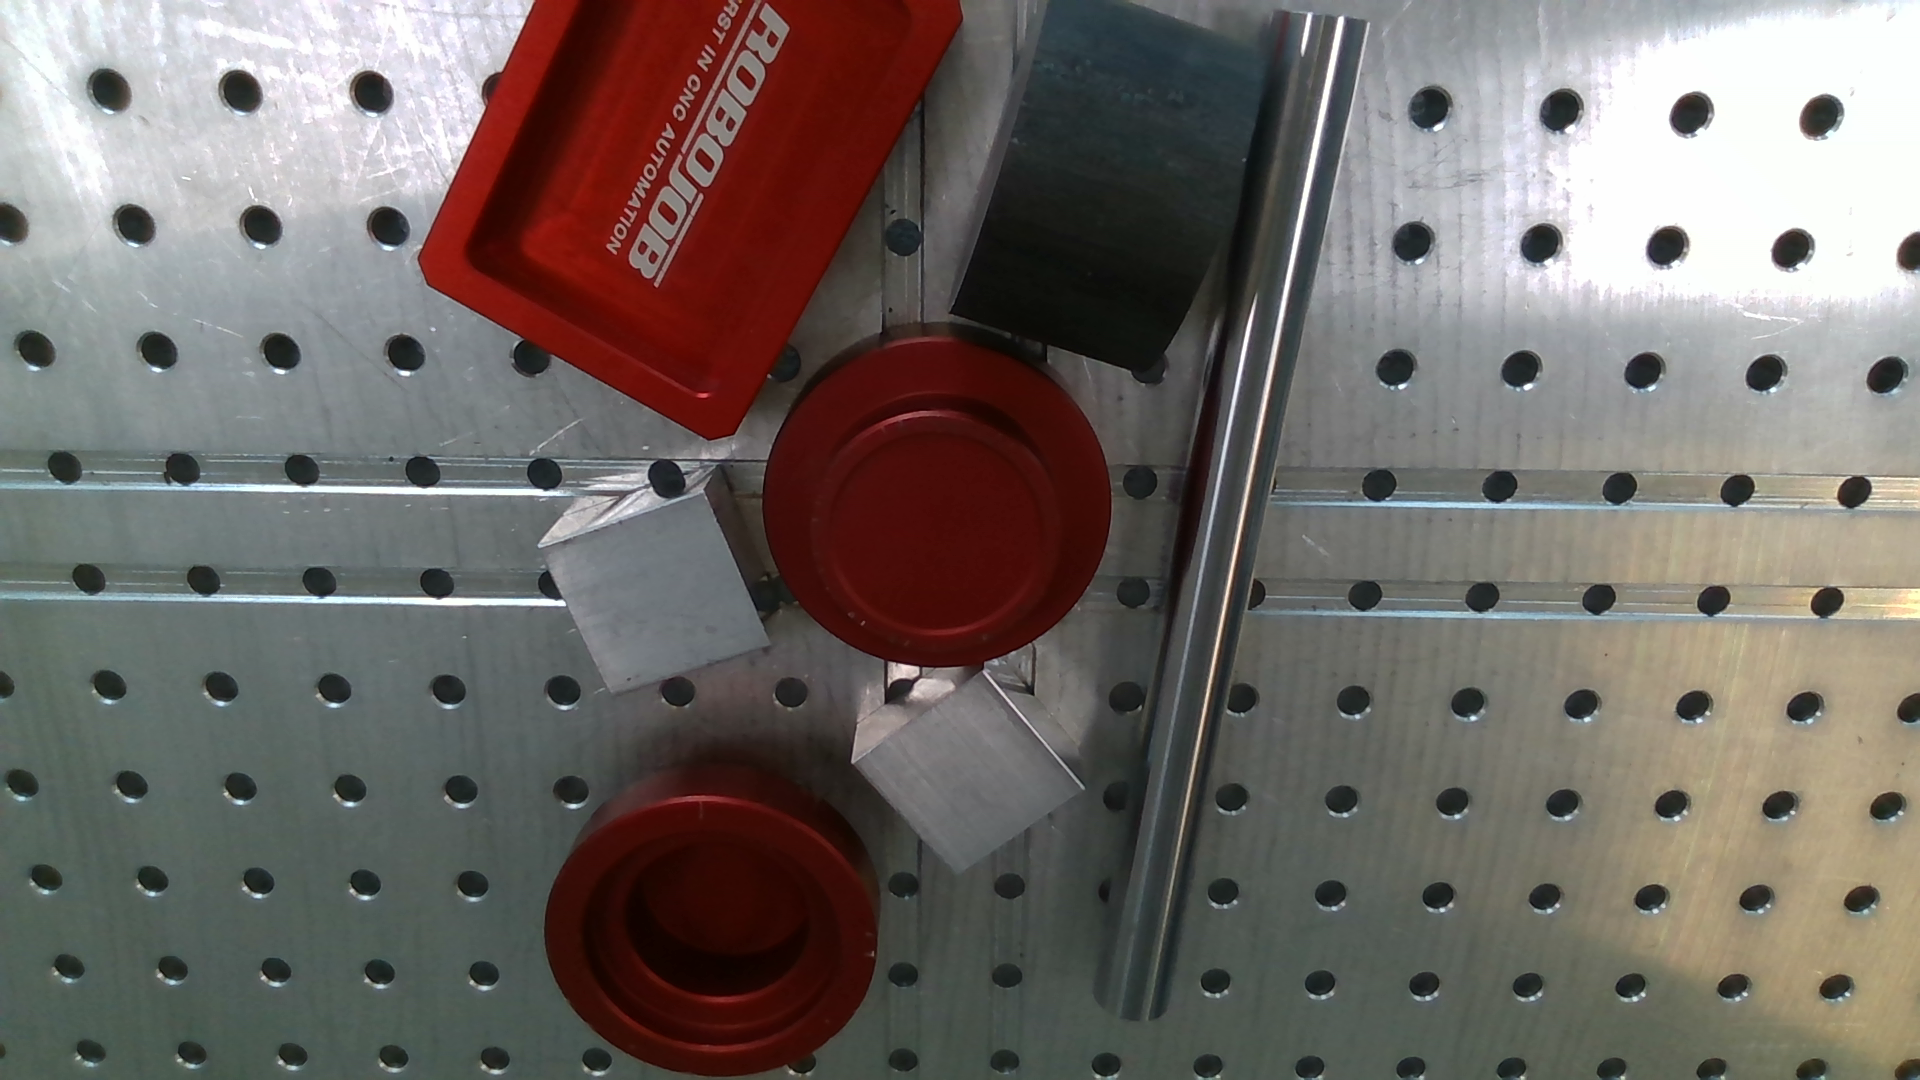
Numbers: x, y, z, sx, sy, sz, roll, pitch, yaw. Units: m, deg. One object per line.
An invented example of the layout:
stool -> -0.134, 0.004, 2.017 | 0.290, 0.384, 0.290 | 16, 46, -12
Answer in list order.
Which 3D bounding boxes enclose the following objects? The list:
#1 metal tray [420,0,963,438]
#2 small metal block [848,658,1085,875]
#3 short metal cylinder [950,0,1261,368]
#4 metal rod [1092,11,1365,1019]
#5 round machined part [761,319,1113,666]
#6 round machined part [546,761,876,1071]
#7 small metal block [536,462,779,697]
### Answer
metal tray -> -0.069, -0.104, 0.355 | 0.090, 0.030, 0.130 | 29, 107, -10
small metal block -> 0.002, 0.065, 0.420 | 0.050, 0.025, 0.050 | -37, 106, 12
short metal cylinder -> 0.033, -0.088, 0.334 | 0.050, 0.080, 0.080 | 17, 109, -6
metal rod -> 0.072, 0.008, 0.398 | 0.025, 0.025, 0.301 | 6, 110, -2
round machined part -> -0.006, -0.009, 0.383 | 0.098, 0.042, 0.098 | -1, 110, -3
round machined part -> -0.074, 0.112, 0.428 | 0.098, 0.042, 0.098 | 0, 110, 0
small metal block -> -0.086, 0.011, 0.400 | 0.050, 0.025, 0.050 | -18, 109, 7
